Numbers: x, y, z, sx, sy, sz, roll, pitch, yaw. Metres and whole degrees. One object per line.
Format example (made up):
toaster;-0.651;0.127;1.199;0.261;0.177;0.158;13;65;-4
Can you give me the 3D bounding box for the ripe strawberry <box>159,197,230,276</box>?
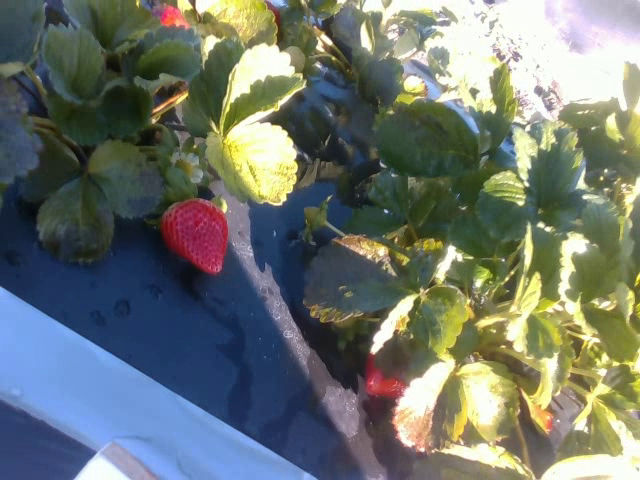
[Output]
ripe strawberry;-0.072;-0.001;0.363;0.046;0.059;0.042;-21;-20;-2
